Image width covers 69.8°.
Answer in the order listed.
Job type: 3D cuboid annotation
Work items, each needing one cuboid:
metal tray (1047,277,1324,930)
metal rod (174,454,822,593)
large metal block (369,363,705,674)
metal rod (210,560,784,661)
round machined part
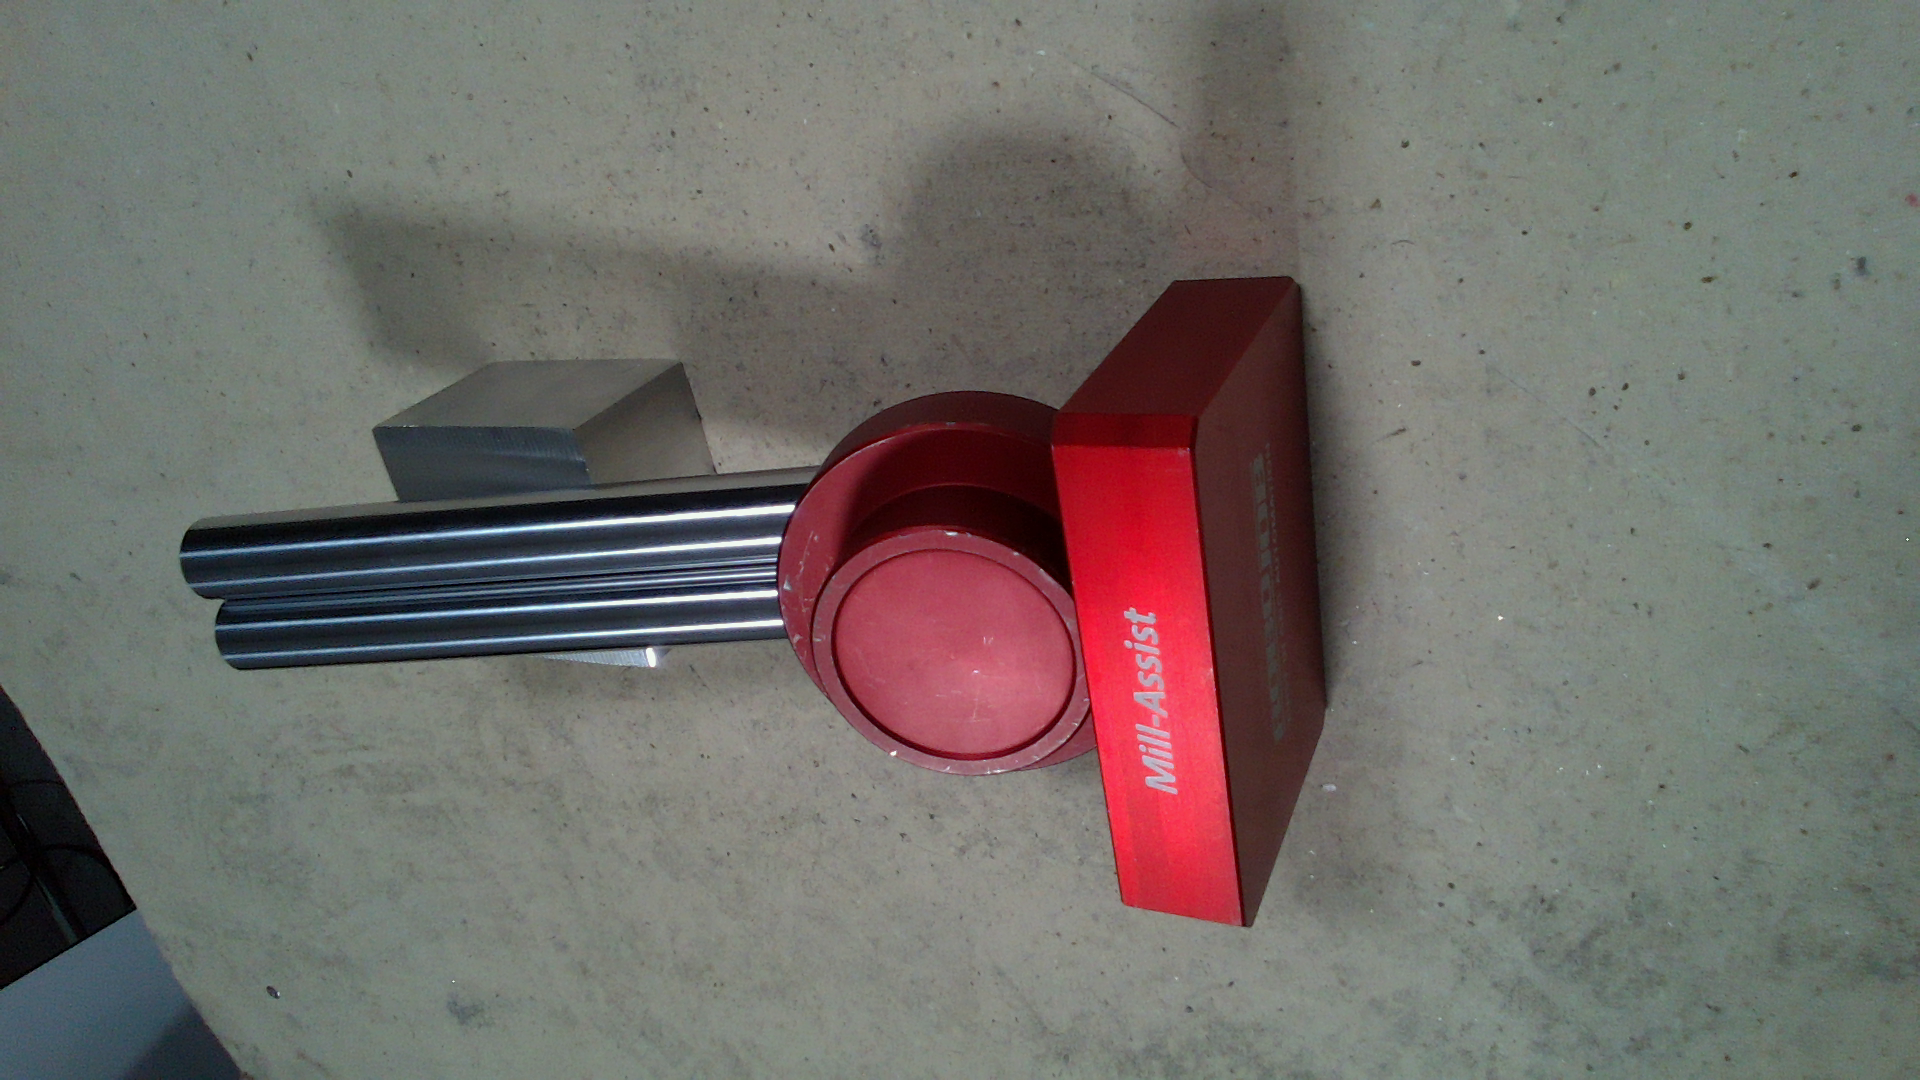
[{"bbox_3d":[0.059,0.014,0.327,0.030,0.090,0.130,3,120,27],"label":"metal tray"},{"bbox_3d":[-0.084,-0.007,0.376,0.299,0.025,0.025,-4,117,16],"label":"metal rod"},{"bbox_3d":[-0.125,-0.009,0.434,0.080,0.050,0.080,3,120,27],"label":"large metal block"},{"bbox_3d":[-0.080,0.017,0.388,0.299,0.025,0.025,-3,118,16],"label":"metal rod"},{"bbox_3d":[0.001,0.018,0.329,0.098,0.042,0.098,7,122,12],"label":"round machined part"}]
